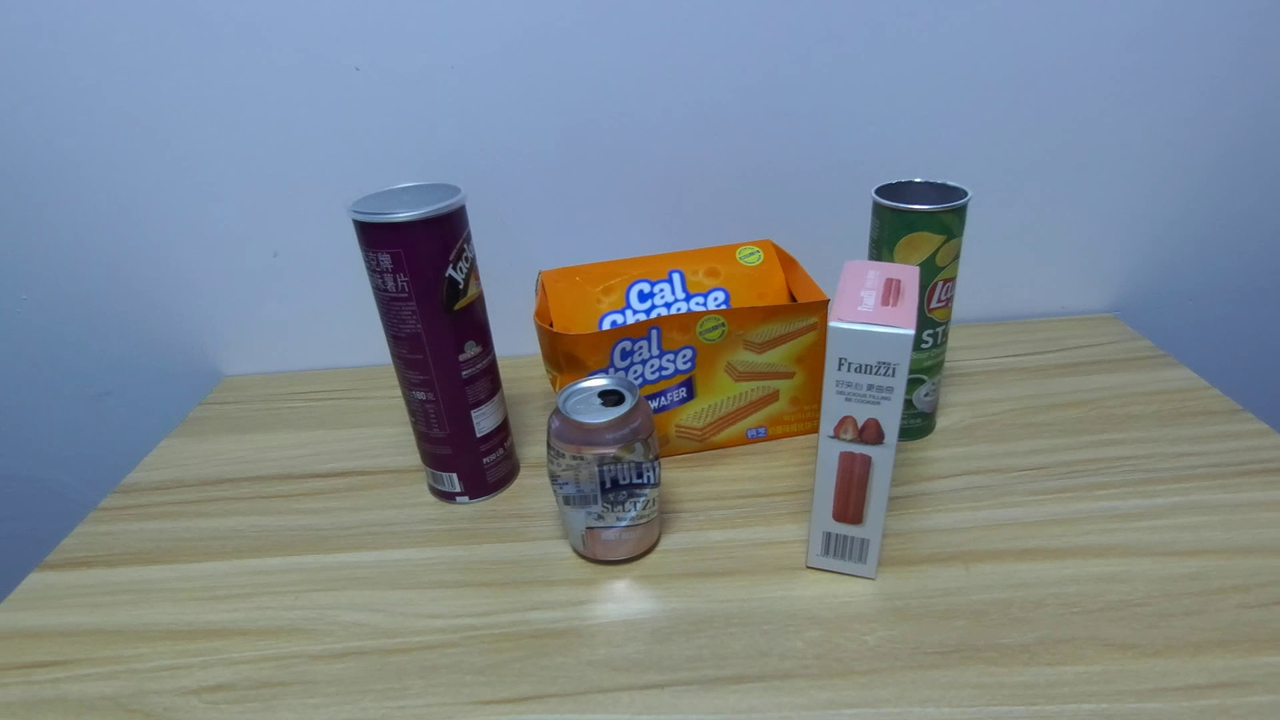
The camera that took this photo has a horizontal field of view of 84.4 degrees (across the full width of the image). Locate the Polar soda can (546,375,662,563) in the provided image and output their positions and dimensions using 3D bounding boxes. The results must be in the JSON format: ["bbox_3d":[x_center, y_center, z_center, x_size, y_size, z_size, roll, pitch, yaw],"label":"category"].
[{"bbox_3d":[-0.020,0.076,0.480,0.074,0.122,0.067,14,36,32],"label":"Polar soda can"}]

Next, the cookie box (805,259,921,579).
[{"bbox_3d":[0.142,0.039,0.455,0.048,0.185,0.096,7,31,17],"label":"cookie box"}]

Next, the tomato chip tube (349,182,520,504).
[{"bbox_3d":[-0.148,-0.006,0.535,0.078,0.234,0.078,-4,29,2],"label":"tomato chip tube"}]

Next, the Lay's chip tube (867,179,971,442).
[{"bbox_3d":[0.213,-0.037,0.564,0.071,0.203,0.071,-4,30,2],"label":"Lay's chip tube"}]

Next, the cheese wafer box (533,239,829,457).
[{"bbox_3d":[0.030,-0.007,0.617,0.231,0.132,0.152,-8,30,-7],"label":"cheese wafer box"}]
